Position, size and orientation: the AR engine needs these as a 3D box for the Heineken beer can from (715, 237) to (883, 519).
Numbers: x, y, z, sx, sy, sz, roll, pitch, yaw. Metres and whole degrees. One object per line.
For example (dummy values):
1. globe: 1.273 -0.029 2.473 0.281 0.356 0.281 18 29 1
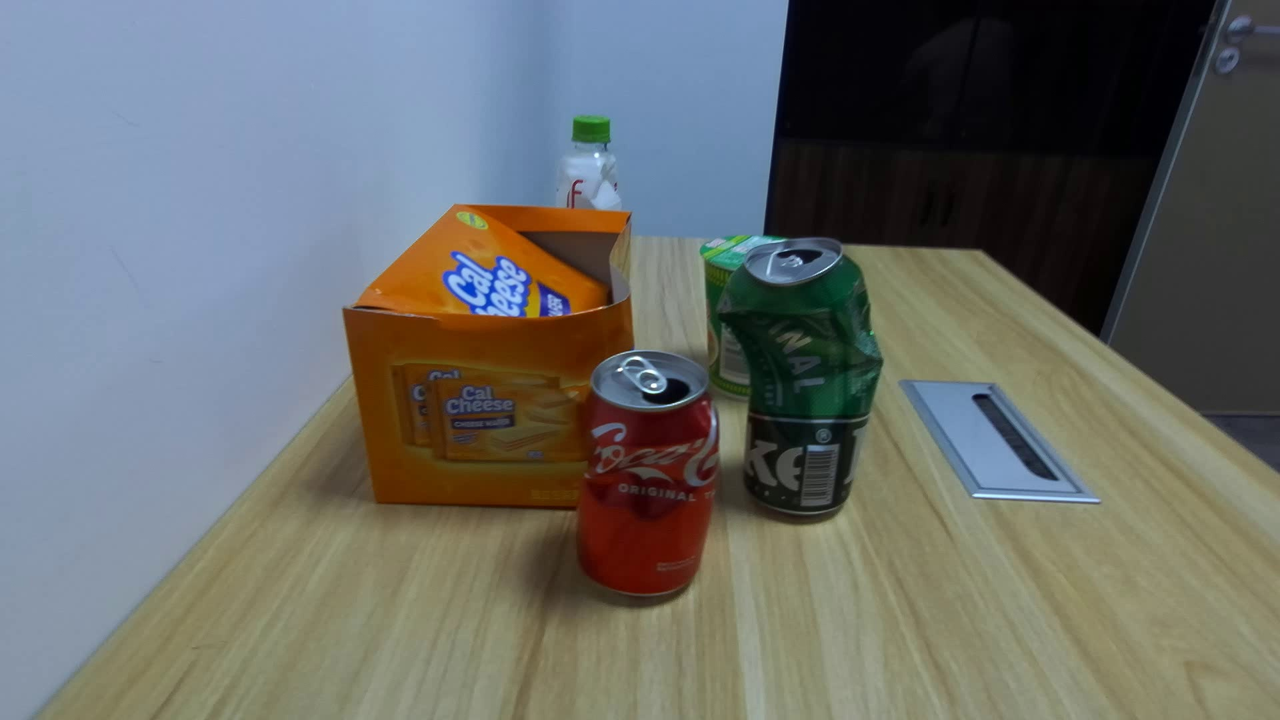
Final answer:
1. Heineken beer can: 0.095 0.012 0.410 0.079 0.159 0.067 -15 26 -19

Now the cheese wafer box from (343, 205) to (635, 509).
1. cheese wafer box: -0.080 -0.013 0.484 0.152 0.132 0.230 4 25 0

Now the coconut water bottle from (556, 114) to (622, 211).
1. coconut water bottle: -0.045 -0.114 0.614 0.069 0.186 0.069 3 19 -1

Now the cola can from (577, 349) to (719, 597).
1. cola can: 0.002 0.056 0.353 0.066 0.117 0.066 -1 27 -7
